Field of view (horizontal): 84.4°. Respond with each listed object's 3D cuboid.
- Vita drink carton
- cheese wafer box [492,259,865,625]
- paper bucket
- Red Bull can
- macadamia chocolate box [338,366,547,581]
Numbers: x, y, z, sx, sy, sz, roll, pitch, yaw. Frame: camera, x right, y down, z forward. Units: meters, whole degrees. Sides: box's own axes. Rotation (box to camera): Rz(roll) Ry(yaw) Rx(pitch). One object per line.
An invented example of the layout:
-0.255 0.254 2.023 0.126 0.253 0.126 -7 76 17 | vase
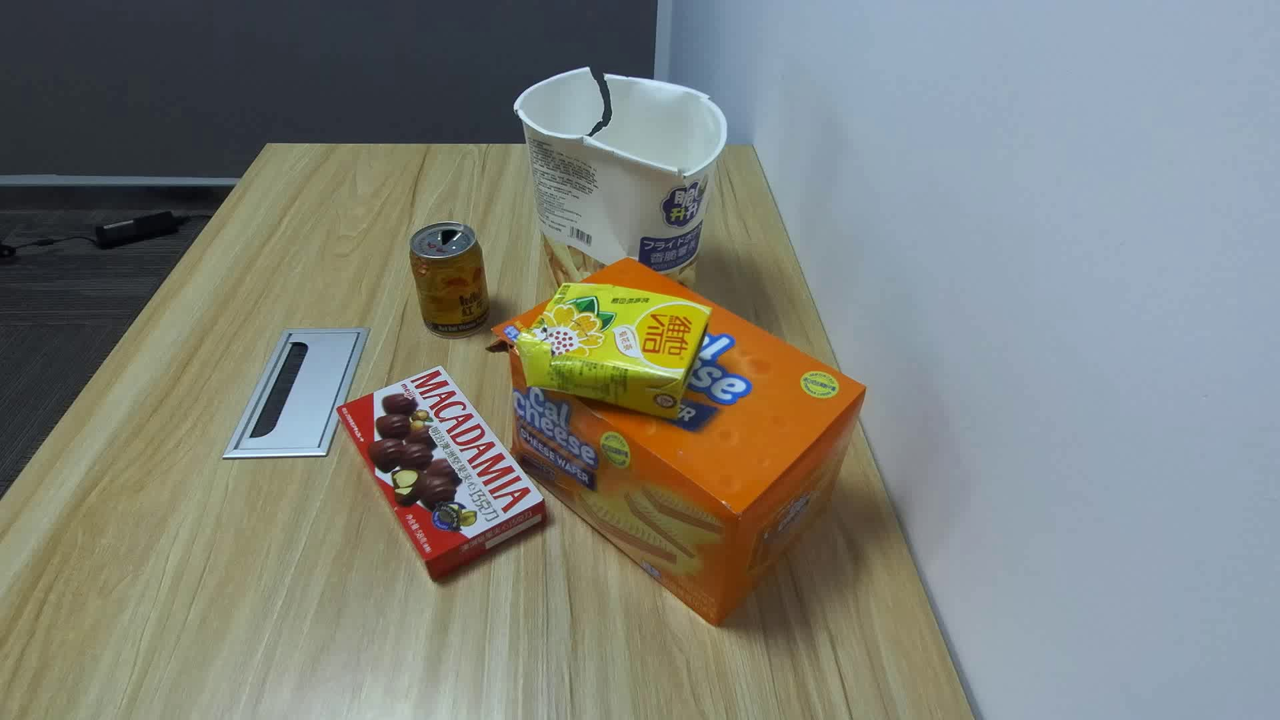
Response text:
-0.015 -0.008 0.452 0.108 0.042 0.087 13 51 17 | Vita drink carton
0.021 0.045 0.515 0.226 0.137 0.150 33 52 29 | cheese wafer box
-0.017 -0.144 0.669 0.202 0.197 0.146 22 45 21 | paper bucket
-0.180 -0.075 0.673 0.068 0.093 0.068 1 38 -1 | Red Bull can
-0.159 0.079 0.555 0.096 0.027 0.177 -24 49 -28 | macadamia chocolate box
